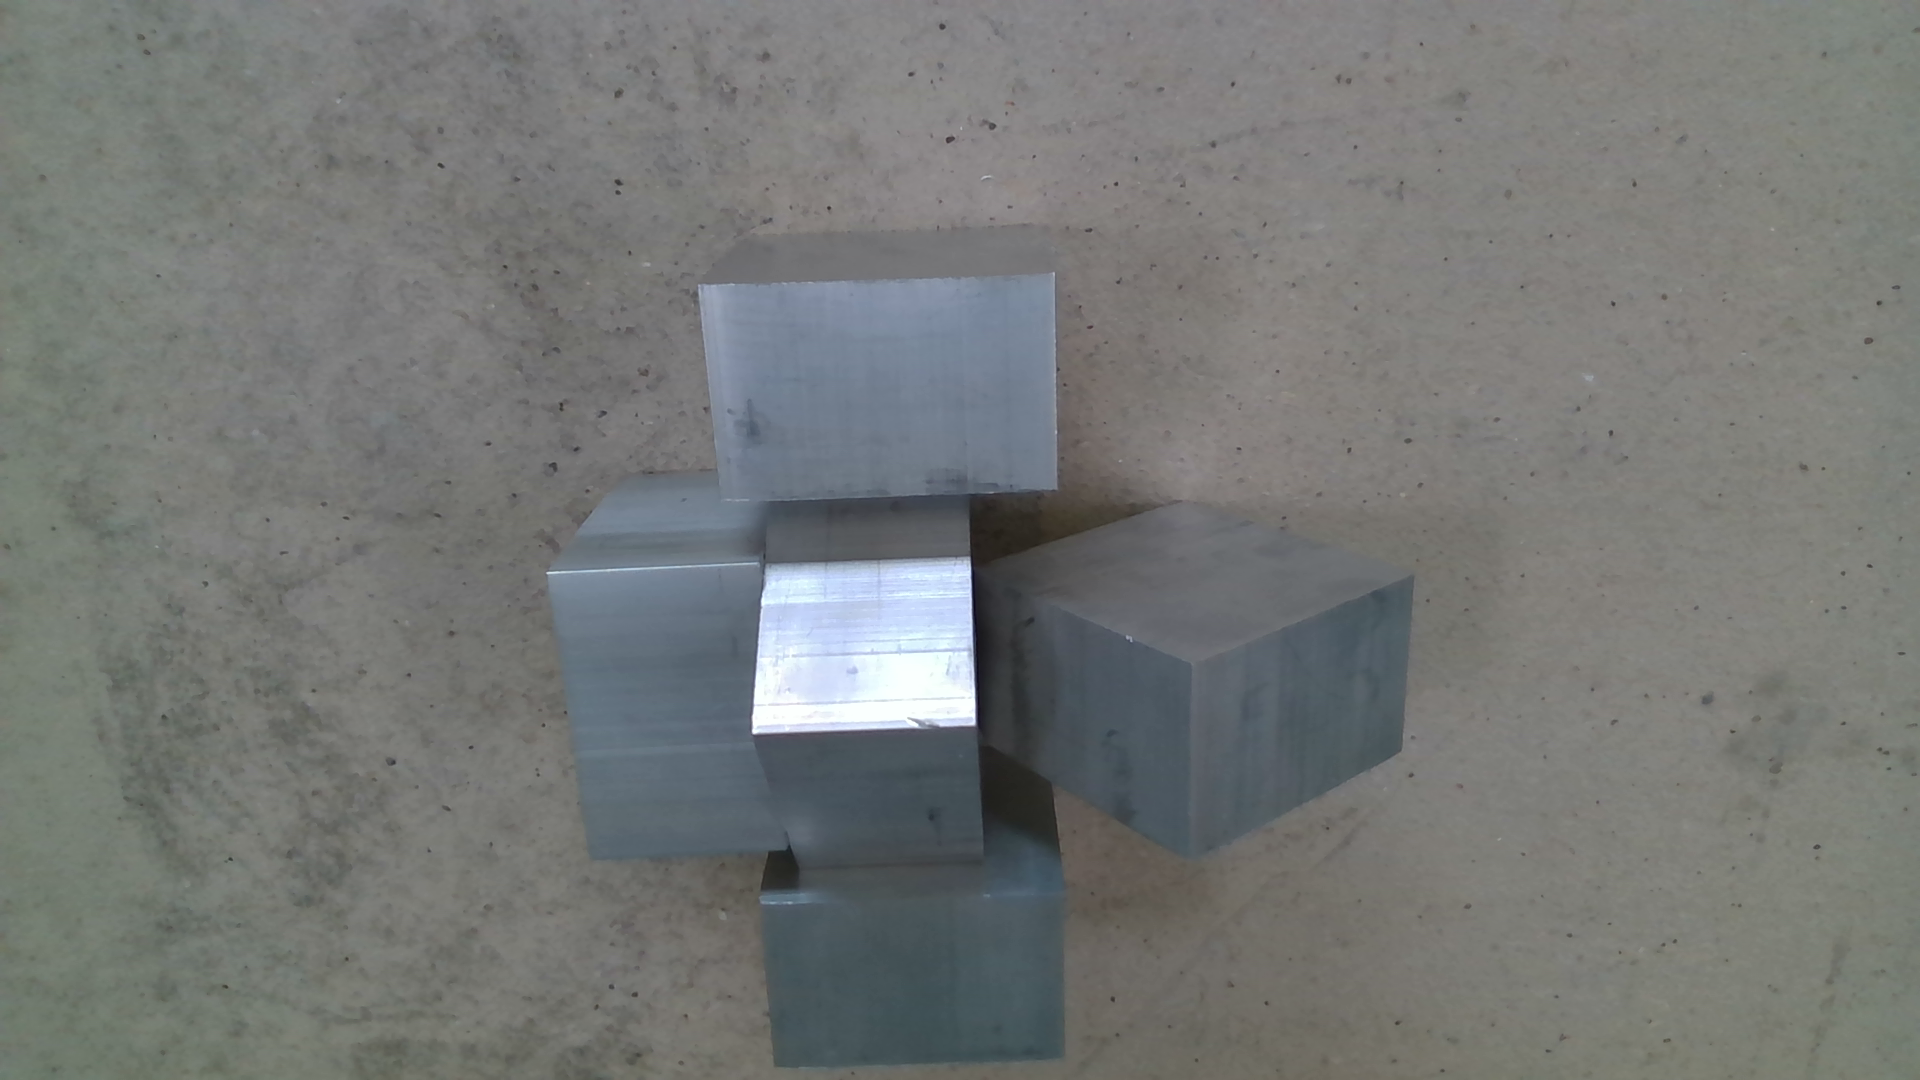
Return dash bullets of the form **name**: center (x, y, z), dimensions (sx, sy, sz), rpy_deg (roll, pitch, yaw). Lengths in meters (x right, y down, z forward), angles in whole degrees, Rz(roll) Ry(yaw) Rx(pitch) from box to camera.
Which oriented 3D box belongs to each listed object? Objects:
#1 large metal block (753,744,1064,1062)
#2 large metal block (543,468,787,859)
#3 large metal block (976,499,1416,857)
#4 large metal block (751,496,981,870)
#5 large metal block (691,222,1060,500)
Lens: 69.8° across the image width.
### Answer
- **large metal block**: center (-0.013, 0.102, 0.402), dimensions (0.080, 0.080, 0.050), rpy_deg (-2, 111, 0)
- **large metal block**: center (-0.071, 0.029, 0.376), dimensions (0.050, 0.080, 0.080), rpy_deg (-2, 110, 1)
- **large metal block**: center (0.059, 0.030, 0.360), dimensions (0.080, 0.080, 0.050), rpy_deg (-17, 114, -34)
- **large metal block**: center (-0.022, 0.032, 0.361), dimensions (0.050, 0.080, 0.080), rpy_deg (-2, 145, 0)
- **large metal block**: center (-0.018, -0.048, 0.346), dimensions (0.080, 0.080, 0.050), rpy_deg (-2, 110, 0)
